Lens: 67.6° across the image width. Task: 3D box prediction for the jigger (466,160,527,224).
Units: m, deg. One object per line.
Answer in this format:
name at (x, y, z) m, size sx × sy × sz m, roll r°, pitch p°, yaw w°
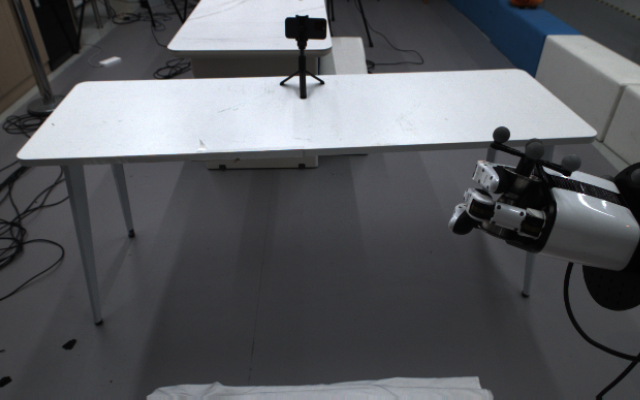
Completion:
jigger at (0.199, 0.003, 0.511) m, size 0.043 × 0.071 × 0.043 m, roll 18°, pitch 17°, yaw -6°
